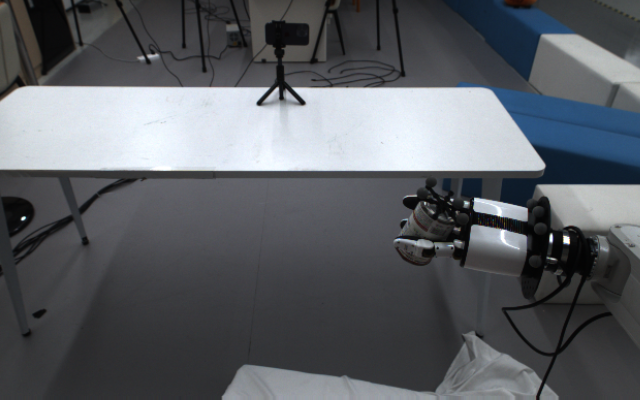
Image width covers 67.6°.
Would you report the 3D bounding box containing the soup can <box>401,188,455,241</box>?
[{"bbox_3d":[0.171,0.047,0.771,0.067,0.101,0.067,14,39,-12],"label":"soup can"}]
